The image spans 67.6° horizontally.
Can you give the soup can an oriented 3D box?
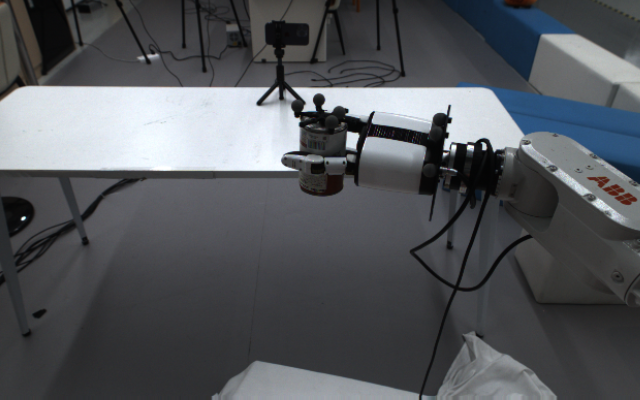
[{"bbox_3d":[0.004,-0.065,0.692,0.067,0.101,0.067,2,32,-1],"label":"soup can"}]
